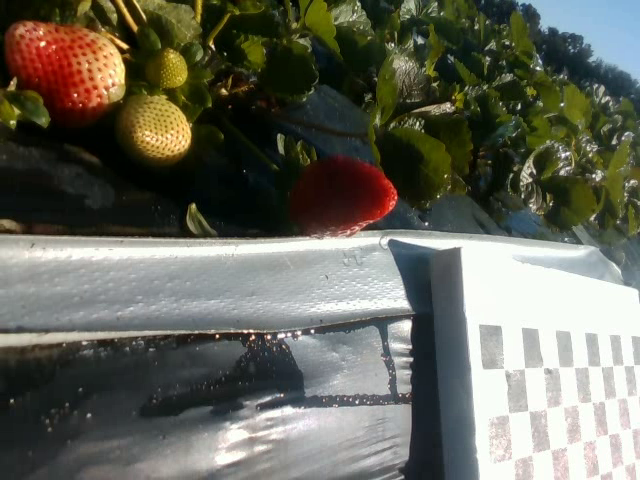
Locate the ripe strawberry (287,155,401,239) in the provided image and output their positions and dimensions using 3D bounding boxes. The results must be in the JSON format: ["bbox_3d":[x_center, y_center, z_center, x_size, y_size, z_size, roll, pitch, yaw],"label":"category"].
[{"bbox_3d":[0.009,-0.015,0.209,0.036,0.038,0.045,7,-1,-41],"label":"ripe strawberry"}]
